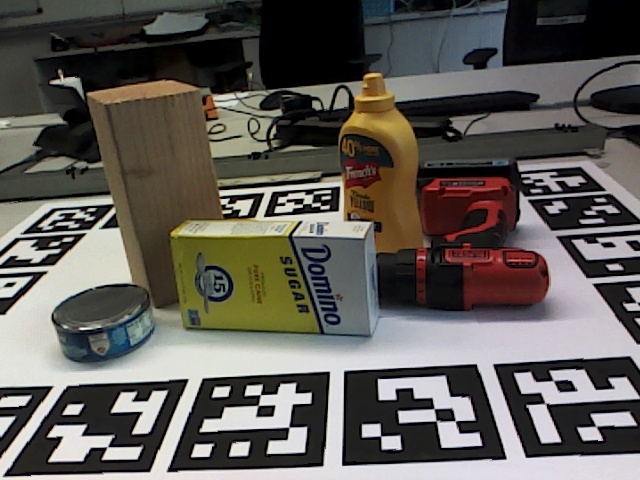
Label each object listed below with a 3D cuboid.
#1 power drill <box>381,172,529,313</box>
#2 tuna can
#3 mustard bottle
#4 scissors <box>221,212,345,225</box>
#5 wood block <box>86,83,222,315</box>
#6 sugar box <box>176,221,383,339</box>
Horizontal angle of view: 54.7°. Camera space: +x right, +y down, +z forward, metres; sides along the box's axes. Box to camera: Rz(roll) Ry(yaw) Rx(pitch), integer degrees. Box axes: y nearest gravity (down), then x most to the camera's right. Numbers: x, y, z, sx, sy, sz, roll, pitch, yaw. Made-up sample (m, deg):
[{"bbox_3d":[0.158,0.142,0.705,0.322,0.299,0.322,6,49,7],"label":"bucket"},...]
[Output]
[{"bbox_3d":[0.112,-0.002,0.623,0.185,0.057,0.187,1,34,17],"label":"power drill"},{"bbox_3d":[-0.196,0.073,0.570,0.086,0.033,0.086,-5,27,2],"label":"tuna can"},{"bbox_3d":[0.060,-0.073,0.648,0.058,0.191,0.097,-25,32,-31],"label":"mustard bottle"},{"bbox_3d":[-0.067,-0.019,0.750,0.203,0.016,0.088,-4,22,7],"label":"scissors"},{"bbox_3d":[-0.160,-0.043,0.631,0.090,0.205,0.090,-18,29,-21],"label":"wood block"},{"bbox_3d":[-0.034,0.035,0.551,0.177,0.092,0.045,2,24,15],"label":"sugar box"}]
